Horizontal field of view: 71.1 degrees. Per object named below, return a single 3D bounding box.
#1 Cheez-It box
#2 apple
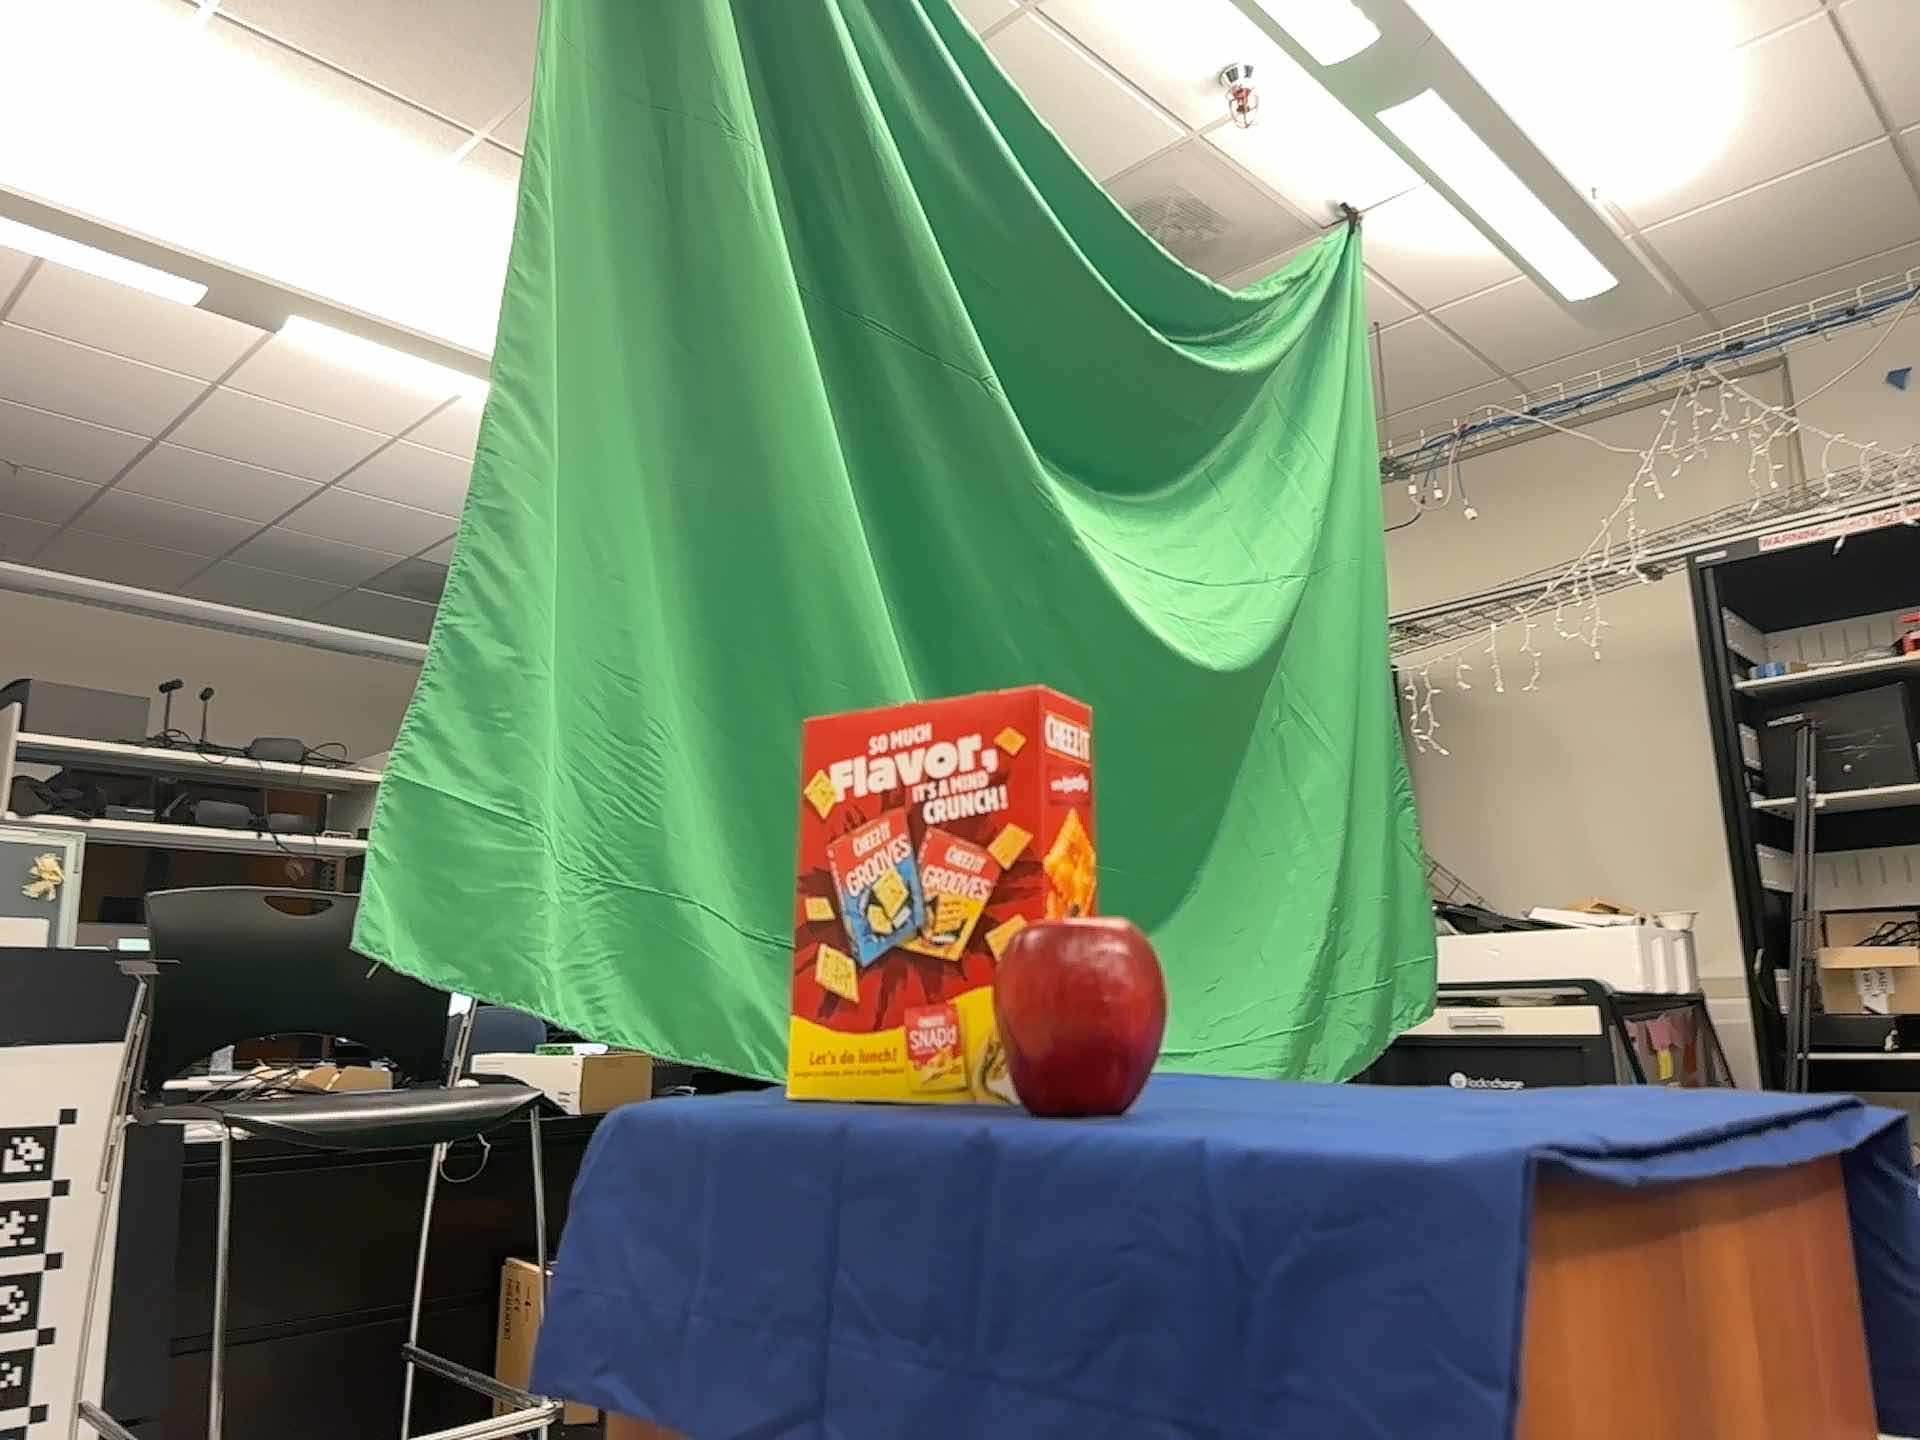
[{"bbox_3d":[-0.009,0.098,0.746,0.159,0.214,0.062,-7,-12,29],"label":"Cheez-It box"},{"bbox_3d":[0.055,0.132,0.614,0.079,0.093,0.079,-3,-11,-1],"label":"apple"}]
